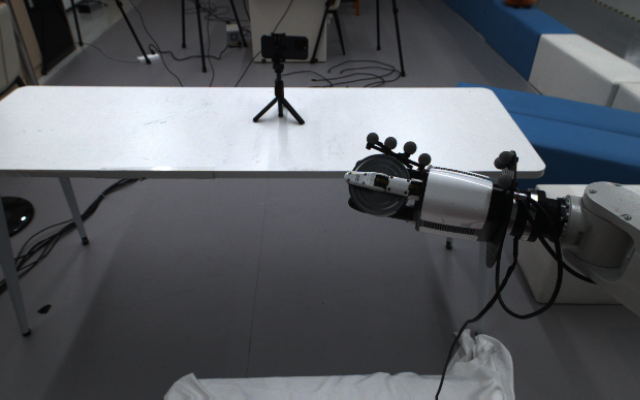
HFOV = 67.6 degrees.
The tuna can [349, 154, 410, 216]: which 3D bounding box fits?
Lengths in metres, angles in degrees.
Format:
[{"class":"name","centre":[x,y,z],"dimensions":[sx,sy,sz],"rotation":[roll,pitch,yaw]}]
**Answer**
[{"class":"tuna can","centre":[0.086,-0.023,0.679],"dimensions":[0.085,0.085,0.034],"rotation":[13,-6,16]}]
